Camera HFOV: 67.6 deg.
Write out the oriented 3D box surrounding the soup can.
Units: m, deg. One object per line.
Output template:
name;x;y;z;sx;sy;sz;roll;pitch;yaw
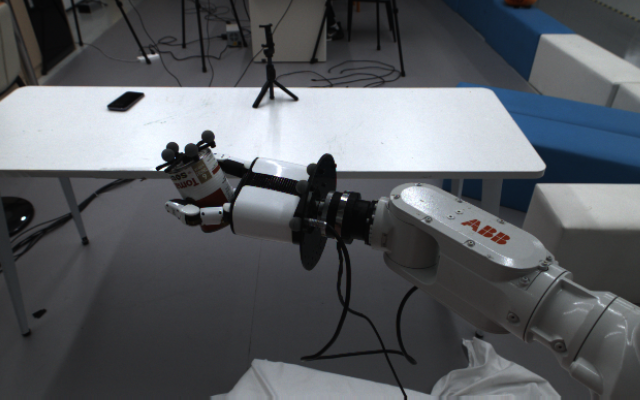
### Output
soup can;-0.158;-0.013;0.679;0.067;0.101;0.067;-22;24;10
